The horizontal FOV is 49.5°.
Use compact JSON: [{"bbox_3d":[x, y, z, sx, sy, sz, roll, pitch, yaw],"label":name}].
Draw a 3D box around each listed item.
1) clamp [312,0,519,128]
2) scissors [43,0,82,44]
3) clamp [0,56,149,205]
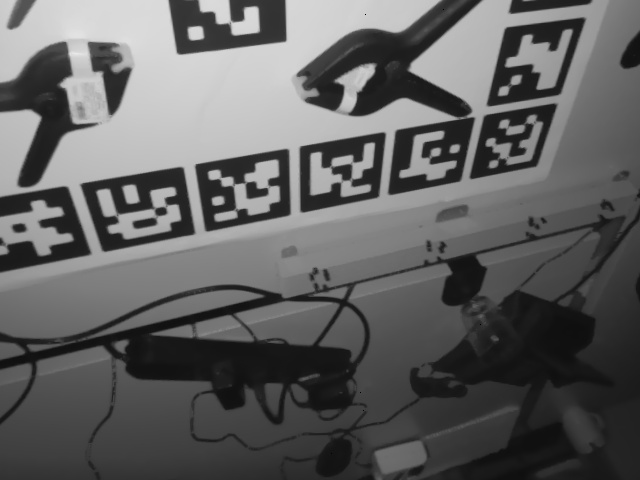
[{"bbox_3d":[0.093,-0.162,0.697,0.204,0.037,0.164,-14,140,-10],"label":"clamp"},{"bbox_3d":[-0.158,-0.226,0.529,0.088,0.016,0.200,28,119,-33],"label":"scissors"},{"bbox_3d":[-0.221,-0.110,0.613,0.164,0.036,0.122,-31,130,6],"label":"clamp"}]
